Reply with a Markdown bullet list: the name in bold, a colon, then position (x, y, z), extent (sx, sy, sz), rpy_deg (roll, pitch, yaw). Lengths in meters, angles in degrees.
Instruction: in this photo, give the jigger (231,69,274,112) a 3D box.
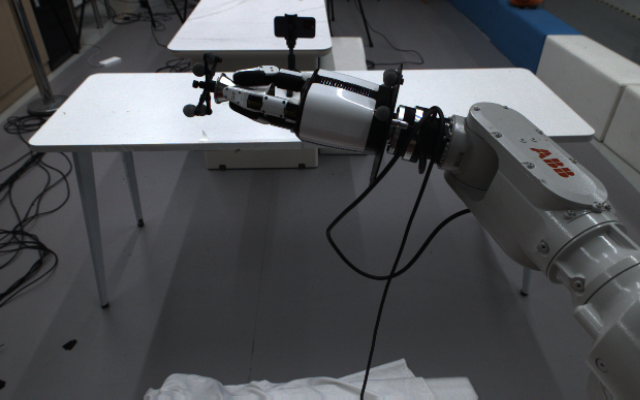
- **jigger**: position (-0.095, -0.139, 0.625), extent (0.071, 0.043, 0.043), rpy_deg (14, 36, 4)
